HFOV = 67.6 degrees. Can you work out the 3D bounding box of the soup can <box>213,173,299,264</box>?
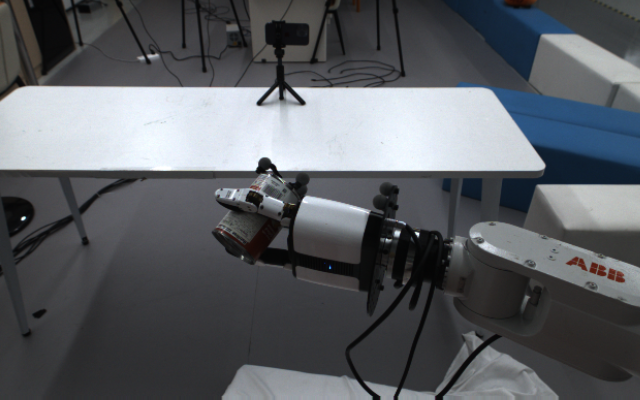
[{"bbox_3d":[-0.079,0.023,0.619,0.067,0.067,0.101,25,66,30],"label":"soup can"}]
